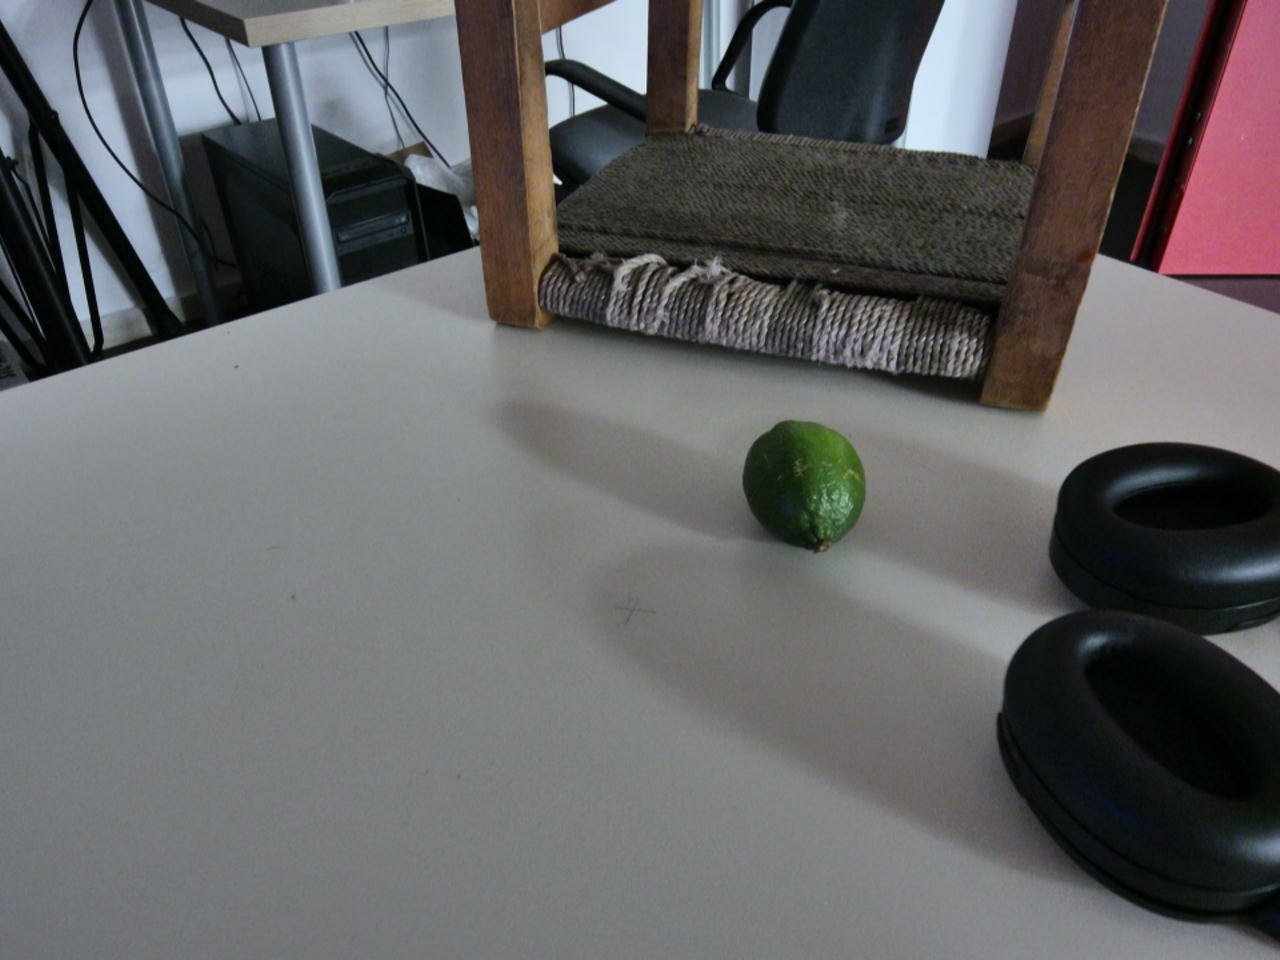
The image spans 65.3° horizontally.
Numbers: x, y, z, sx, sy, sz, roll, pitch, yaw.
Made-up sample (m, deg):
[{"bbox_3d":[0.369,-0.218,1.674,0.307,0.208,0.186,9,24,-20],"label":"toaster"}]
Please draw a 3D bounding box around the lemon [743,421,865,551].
[{"bbox_3d":[0.072,0.001,0.437,0.054,0.051,0.057,-28,43,-33],"label":"lemon"}]
